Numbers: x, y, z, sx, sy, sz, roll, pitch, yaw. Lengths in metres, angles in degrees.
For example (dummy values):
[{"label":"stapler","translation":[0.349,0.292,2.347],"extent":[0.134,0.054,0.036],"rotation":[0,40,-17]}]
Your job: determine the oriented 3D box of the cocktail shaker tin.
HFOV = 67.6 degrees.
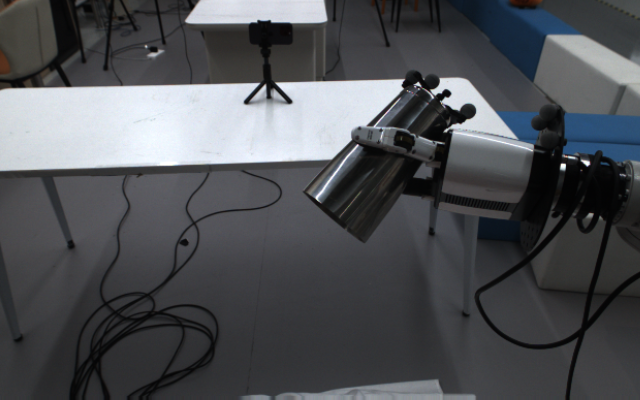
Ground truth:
[{"label":"cocktail shaker tin","translation":[0.072,-0.049,0.553],"extent":[0.170,0.093,0.093],"rotation":[-48,49,-3]}]
